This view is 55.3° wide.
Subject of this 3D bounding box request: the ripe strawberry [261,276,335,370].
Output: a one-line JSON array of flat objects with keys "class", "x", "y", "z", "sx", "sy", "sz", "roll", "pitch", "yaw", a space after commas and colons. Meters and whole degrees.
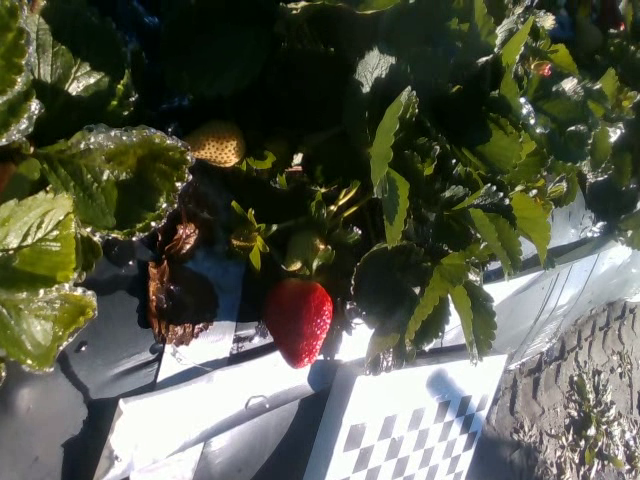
[{"class": "ripe strawberry", "x": -0.011, "y": 0.066, "z": 0.430, "sx": 0.057, "sy": 0.065, "sz": 0.062, "roll": -17, "pitch": -40, "yaw": 13}]
